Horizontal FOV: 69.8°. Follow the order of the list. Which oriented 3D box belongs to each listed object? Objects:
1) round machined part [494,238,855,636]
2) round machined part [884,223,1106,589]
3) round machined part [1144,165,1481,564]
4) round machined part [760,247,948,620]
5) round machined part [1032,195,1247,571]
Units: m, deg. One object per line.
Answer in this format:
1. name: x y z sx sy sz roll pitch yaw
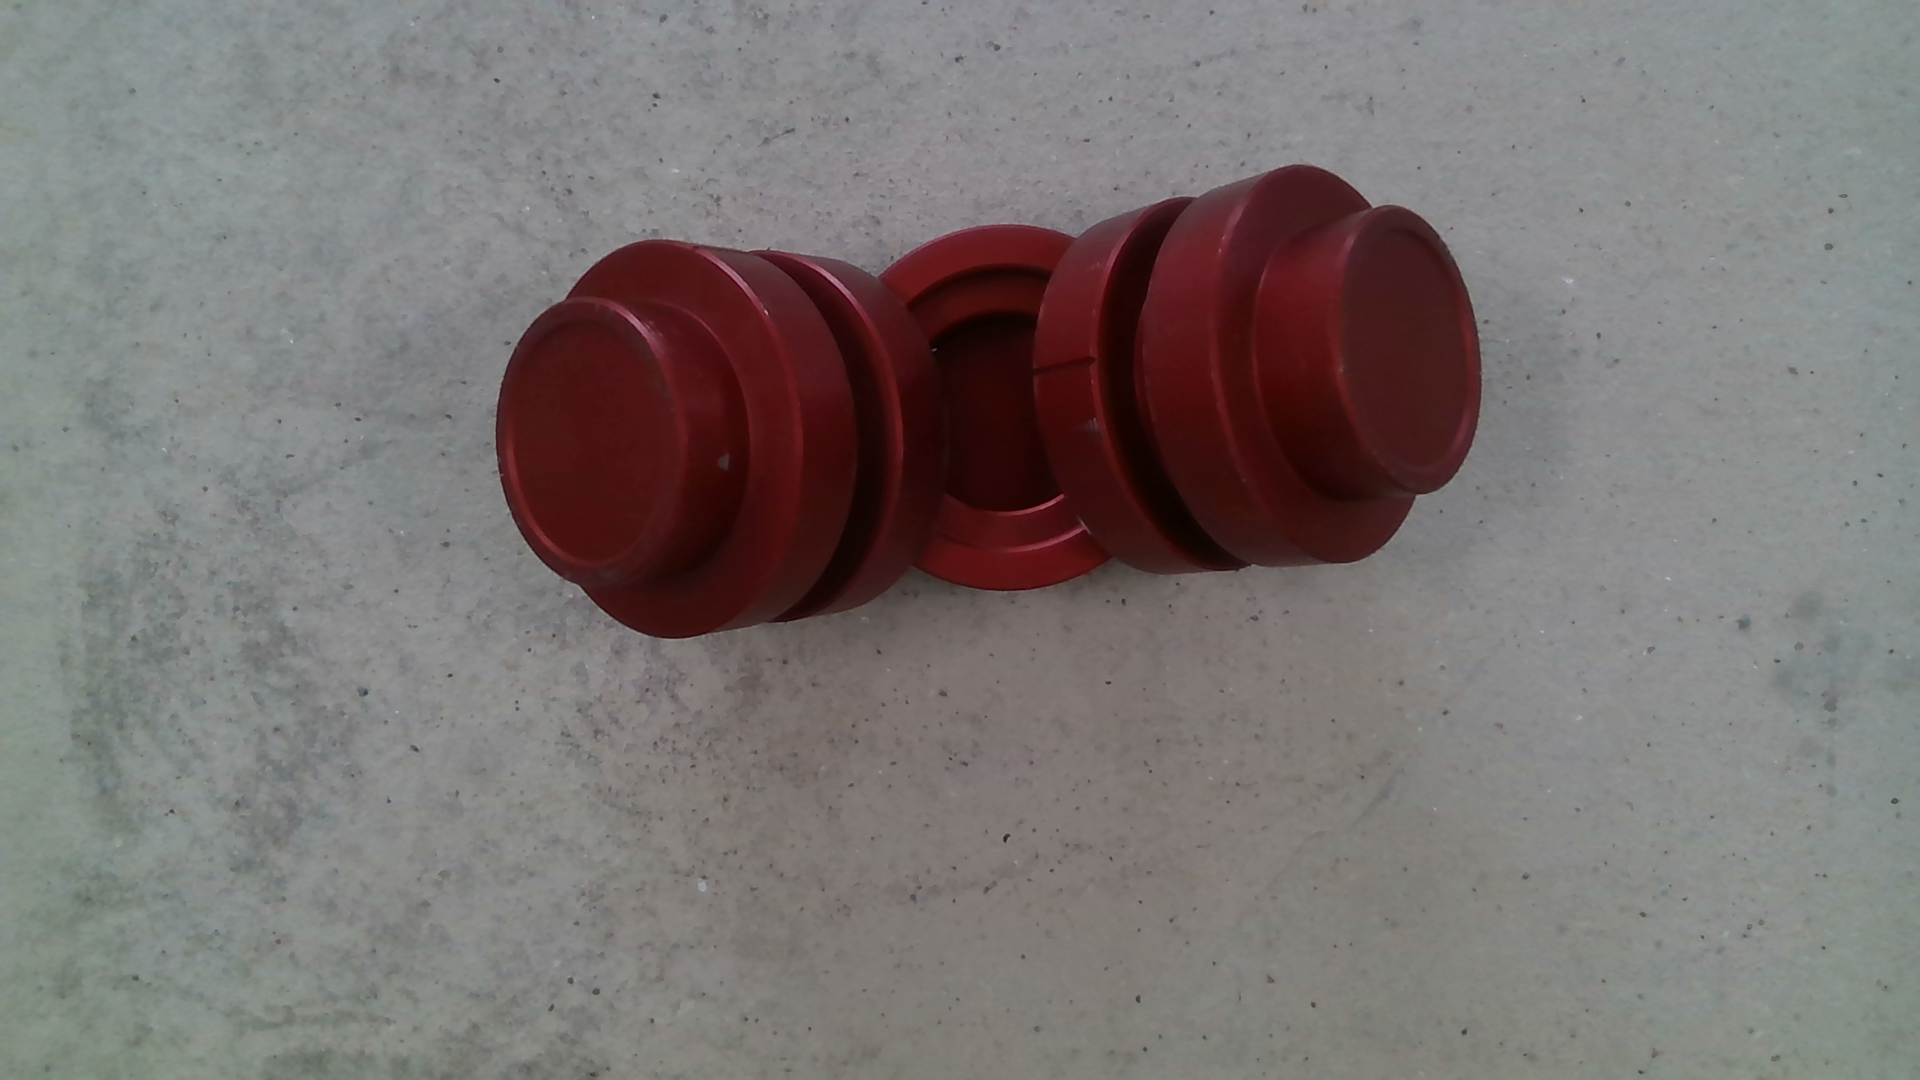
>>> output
1. round machined part: -0.076 -0.025 0.339 0.098 0.042 0.098 4 97 35
2. round machined part: 0.013 -0.036 0.388 0.098 0.042 0.098 0 90 0
3. round machined part: 0.093 -0.044 0.339 0.098 0.042 0.098 5 83 -42
4. round machined part: -0.054 -0.027 0.362 0.098 0.042 0.098 4 96 36
5. round machined part: 0.067 -0.041 0.359 0.098 0.042 0.098 5 83 -43
